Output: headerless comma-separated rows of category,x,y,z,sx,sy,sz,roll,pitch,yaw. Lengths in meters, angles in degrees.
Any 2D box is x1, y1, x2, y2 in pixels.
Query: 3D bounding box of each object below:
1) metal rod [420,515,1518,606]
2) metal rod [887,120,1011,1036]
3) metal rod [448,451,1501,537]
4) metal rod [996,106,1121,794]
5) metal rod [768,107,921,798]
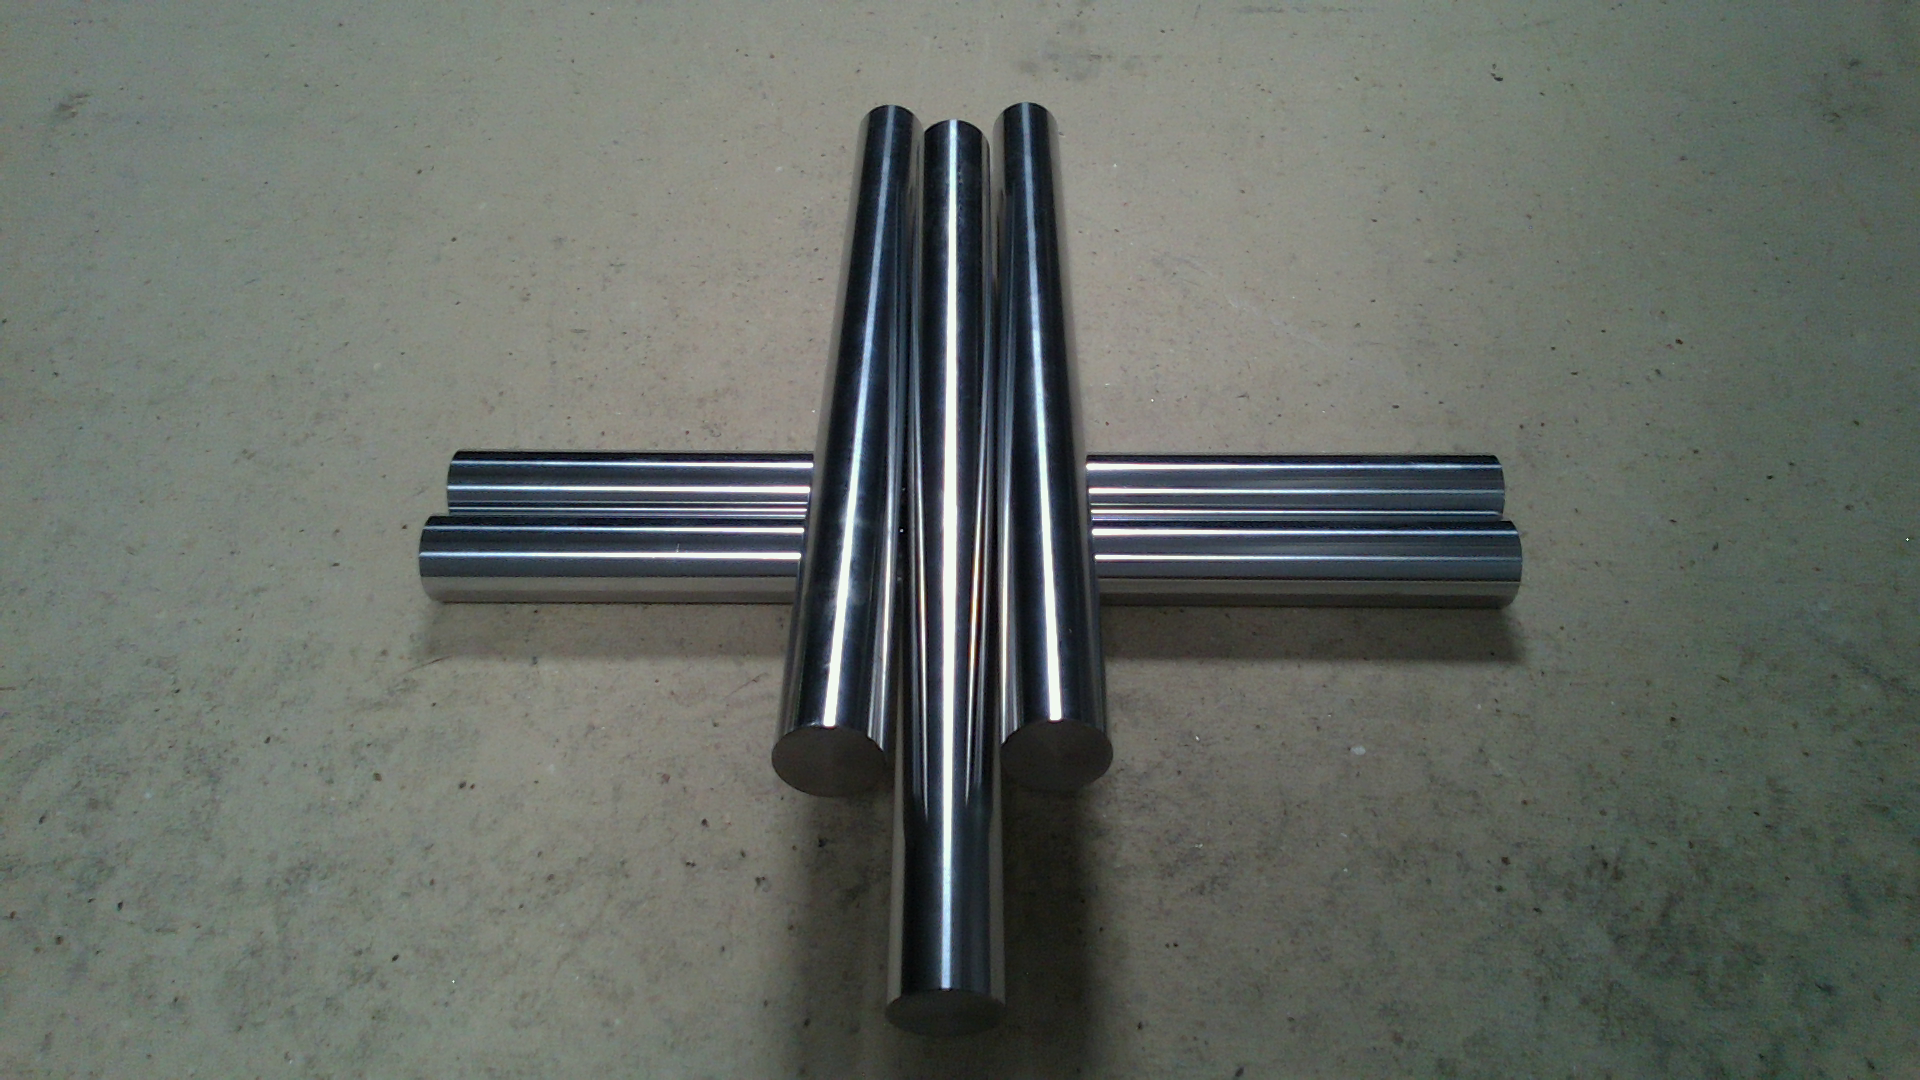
metal rod,0.003,0.006,0.388,0.300,0.025,0.025,0,50,0
metal rod,-0.002,-0.019,0.374,0.025,0.025,0.300,0,50,0
metal rod,0.004,-0.013,0.404,0.300,0.025,0.025,0,50,0
metal rod,0.023,-0.053,0.408,0.025,0.025,0.300,0,42,0
metal rod,-0.027,-0.052,0.408,0.025,0.025,0.300,0,42,0
